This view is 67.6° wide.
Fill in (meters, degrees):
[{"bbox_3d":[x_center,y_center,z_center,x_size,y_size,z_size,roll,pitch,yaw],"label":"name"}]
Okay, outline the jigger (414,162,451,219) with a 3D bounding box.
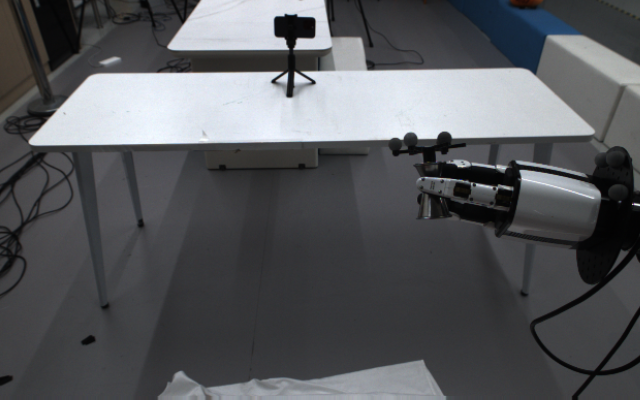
[{"bbox_3d":[0.137,-0.012,0.595,0.043,0.071,0.043,-4,1,0],"label":"jigger"}]
